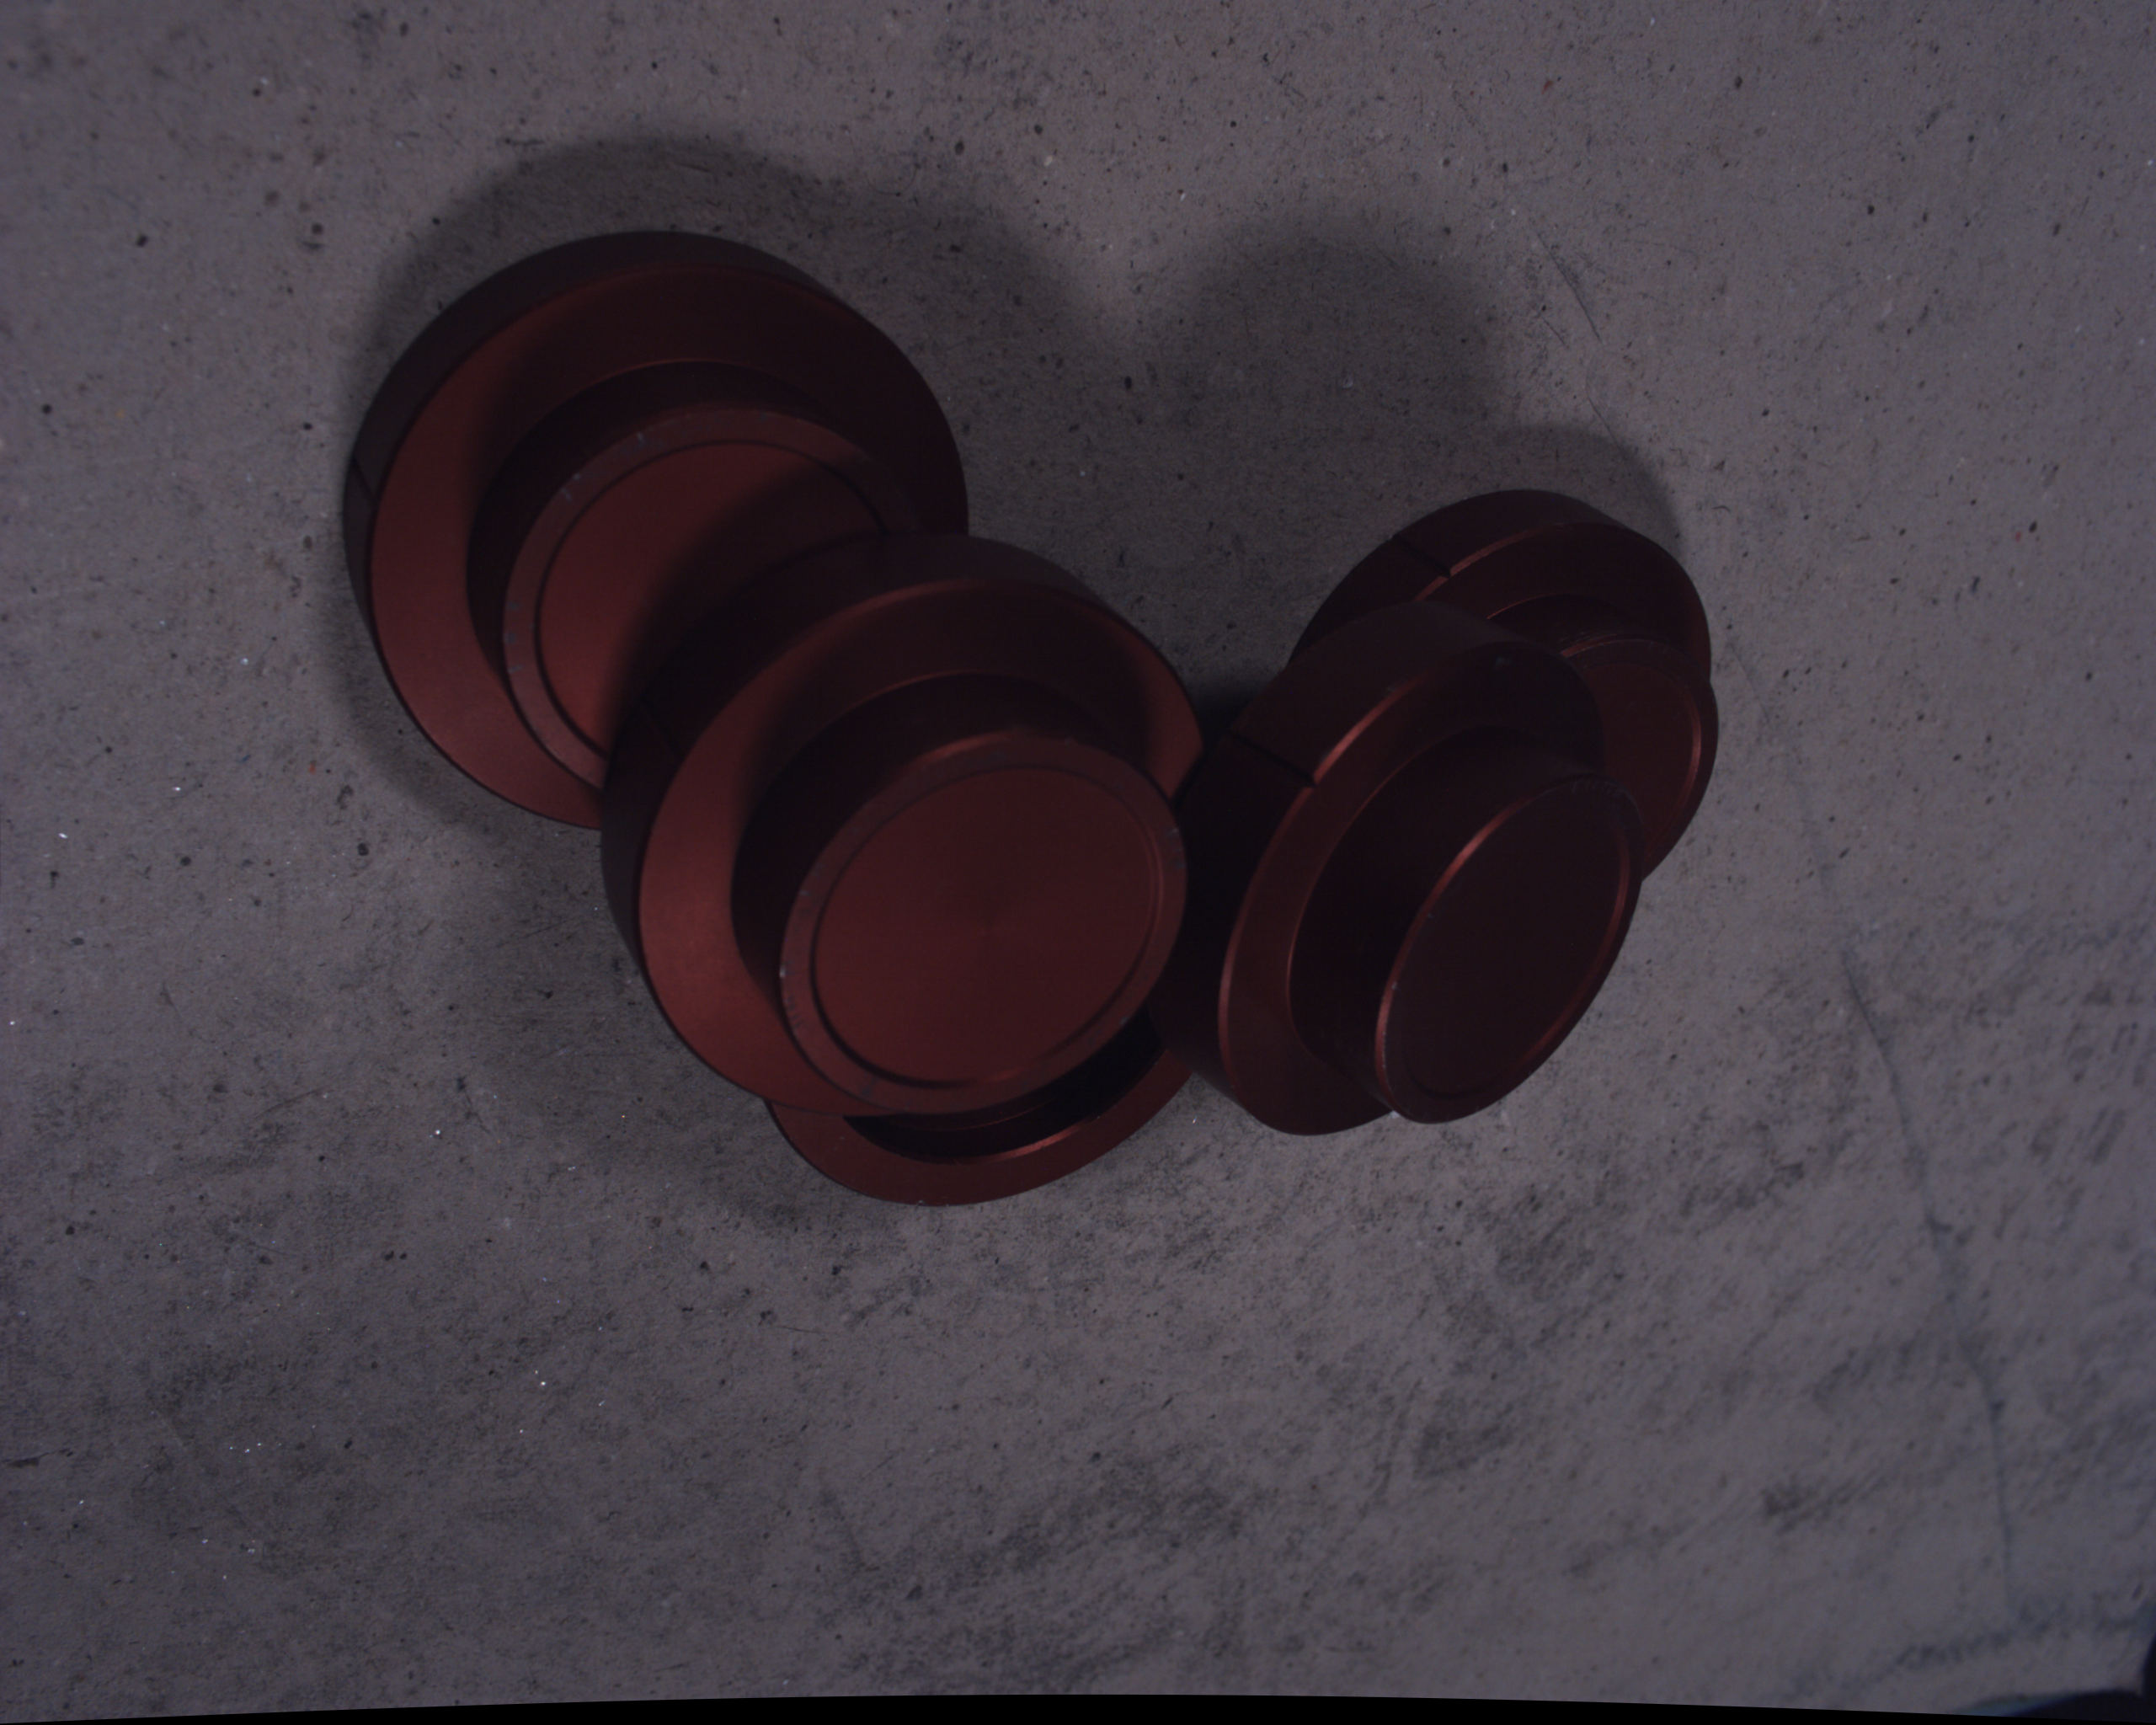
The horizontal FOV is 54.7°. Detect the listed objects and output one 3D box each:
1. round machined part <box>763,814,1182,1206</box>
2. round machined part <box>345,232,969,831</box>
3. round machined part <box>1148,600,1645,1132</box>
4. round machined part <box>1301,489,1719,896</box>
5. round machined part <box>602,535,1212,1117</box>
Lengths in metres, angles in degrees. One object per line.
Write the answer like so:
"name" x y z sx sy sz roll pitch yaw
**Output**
"round machined part" -0.020 0.014 0.396 0.099 0.042 0.097 -14 125 -21
"round machined part" -0.063 -0.047 0.334 0.099 0.042 0.097 -14 125 -21
"round machined part" 0.062 0.007 0.369 0.099 0.042 0.097 -24 131 -31
"round machined part" 0.093 -0.024 0.434 0.099 0.042 0.097 -14 125 -21
"round machined part" -0.022 0.001 0.332 0.099 0.042 0.097 -14 125 -21
